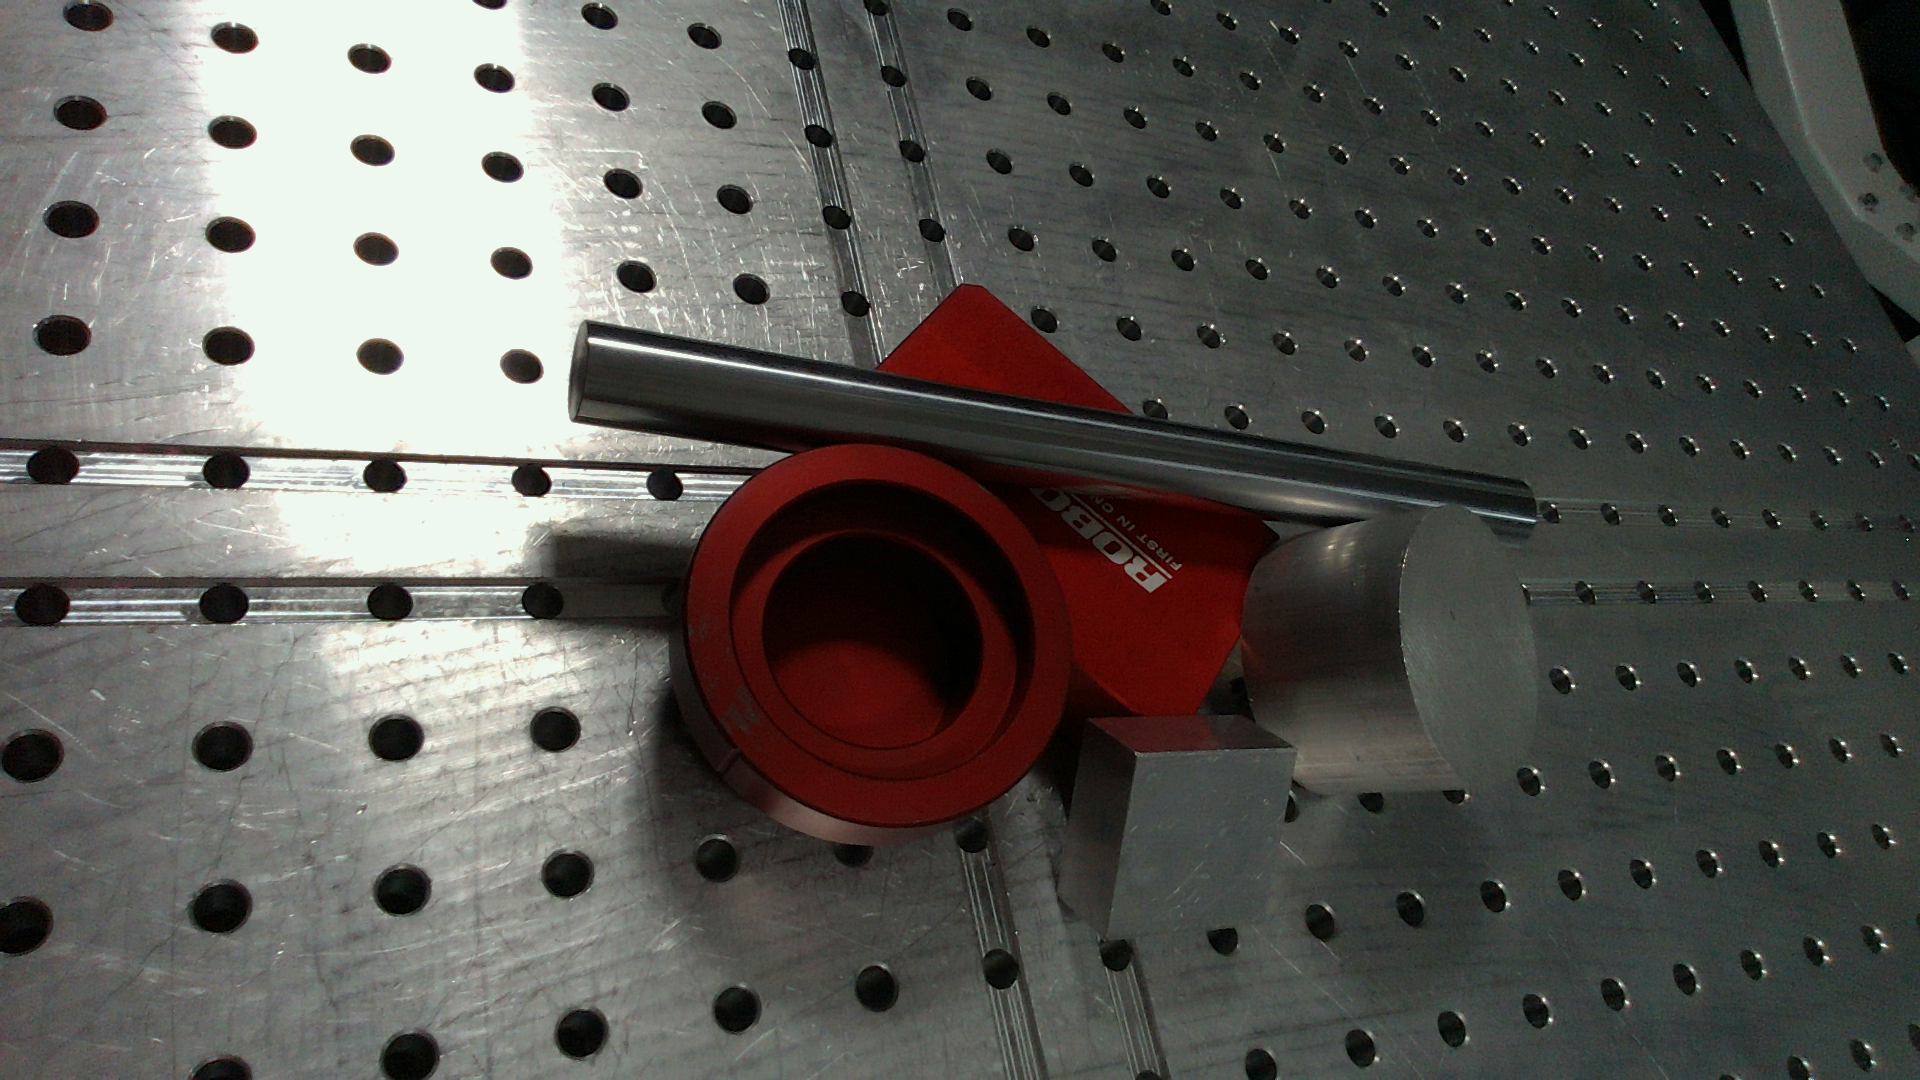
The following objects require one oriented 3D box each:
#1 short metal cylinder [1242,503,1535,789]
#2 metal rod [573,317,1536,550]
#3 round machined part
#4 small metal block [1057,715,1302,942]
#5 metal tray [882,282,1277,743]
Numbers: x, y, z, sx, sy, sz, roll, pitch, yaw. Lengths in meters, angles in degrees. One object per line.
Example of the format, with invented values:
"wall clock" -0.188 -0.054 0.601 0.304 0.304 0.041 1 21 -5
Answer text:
"short metal cylinder" 0.127 0.033 0.405 0.080 0.050 0.080 12 73 -43
"metal rod" 0.045 -0.025 0.391 0.301 0.025 0.025 7 59 -25
"round machined part" -0.025 0.027 0.345 0.098 0.042 0.098 9 65 -19
"small metal block" 0.057 0.074 0.361 0.050 0.025 0.050 3 103 -27
"metal tray" 0.024 -0.007 0.408 0.130 0.030 0.090 40 51 -1
